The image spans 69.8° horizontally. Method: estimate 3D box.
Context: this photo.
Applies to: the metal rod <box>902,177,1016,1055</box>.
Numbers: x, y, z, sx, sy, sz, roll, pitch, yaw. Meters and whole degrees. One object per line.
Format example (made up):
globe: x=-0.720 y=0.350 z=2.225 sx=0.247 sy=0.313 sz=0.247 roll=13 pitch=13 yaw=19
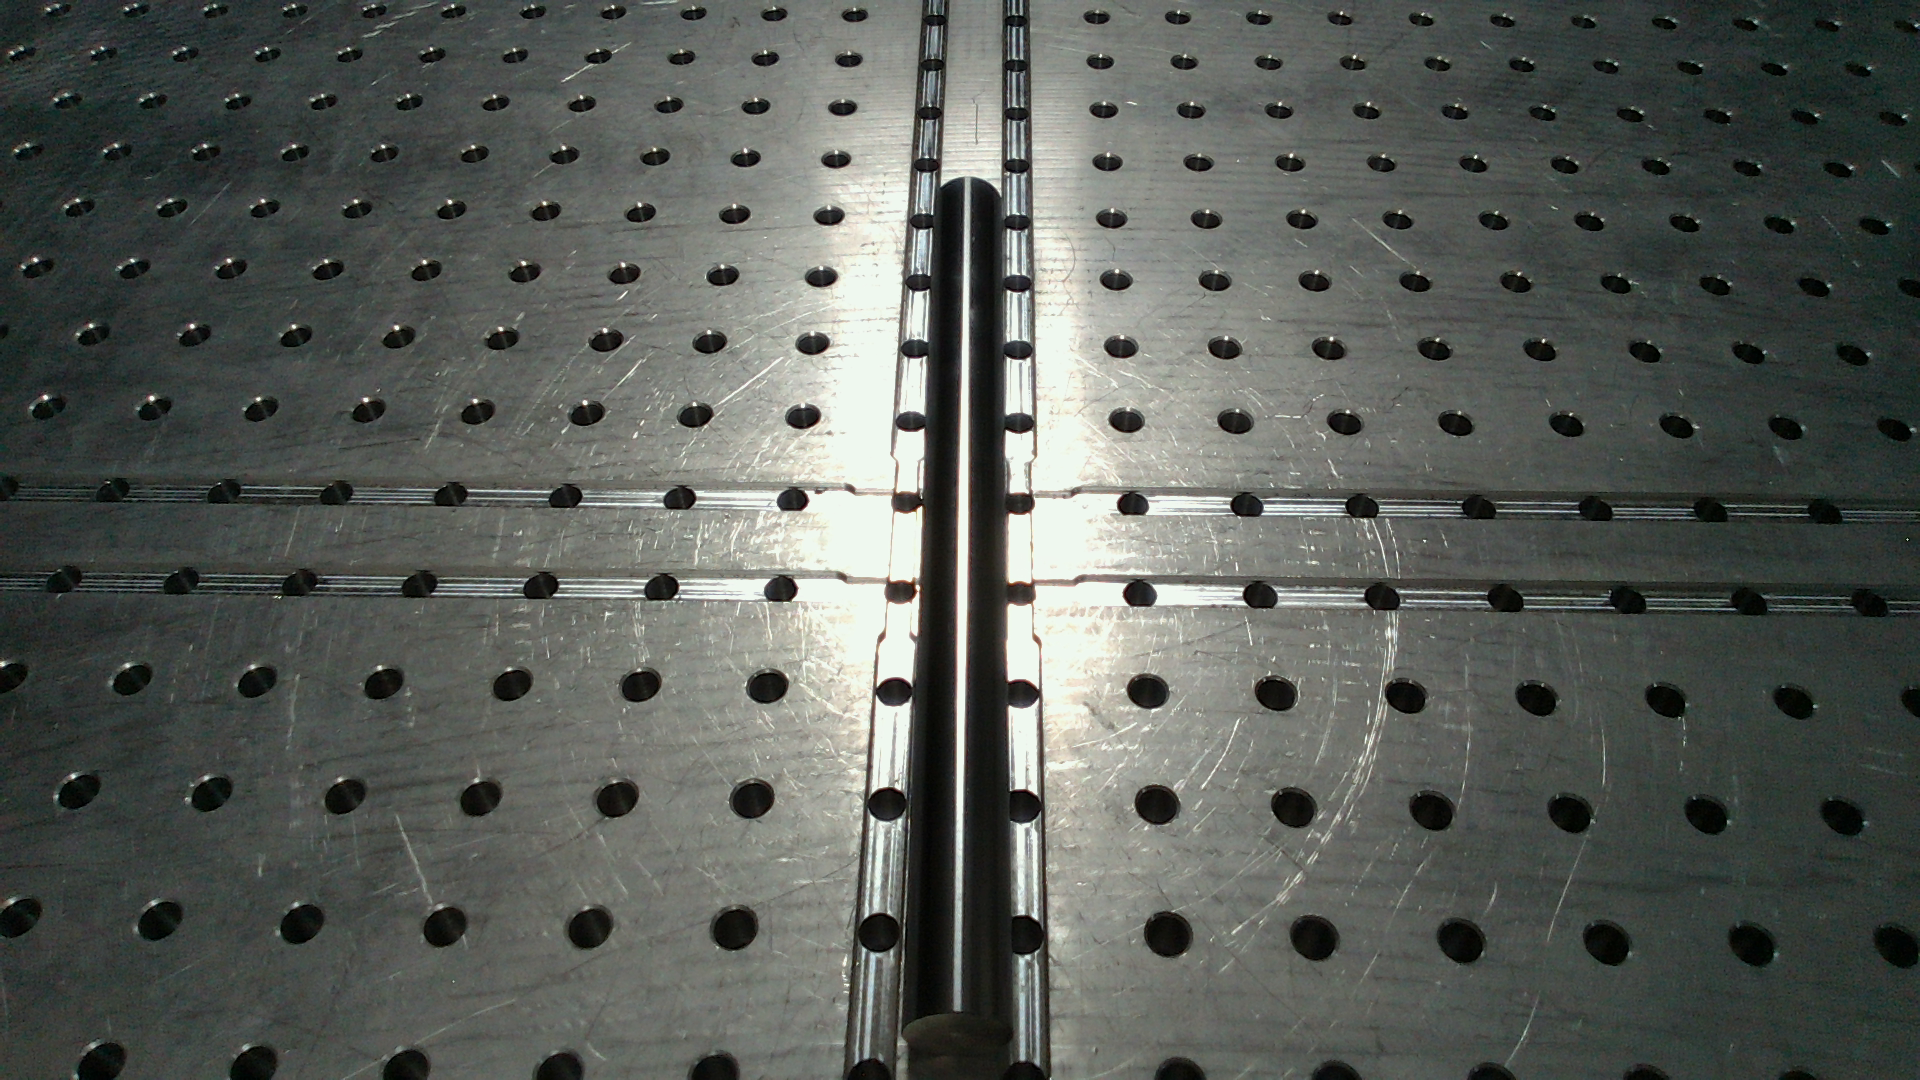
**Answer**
metal rod: x=0.001 y=-0.006 z=0.399 sx=0.025 sy=0.025 sz=0.300 roll=0 pitch=50 yaw=1
